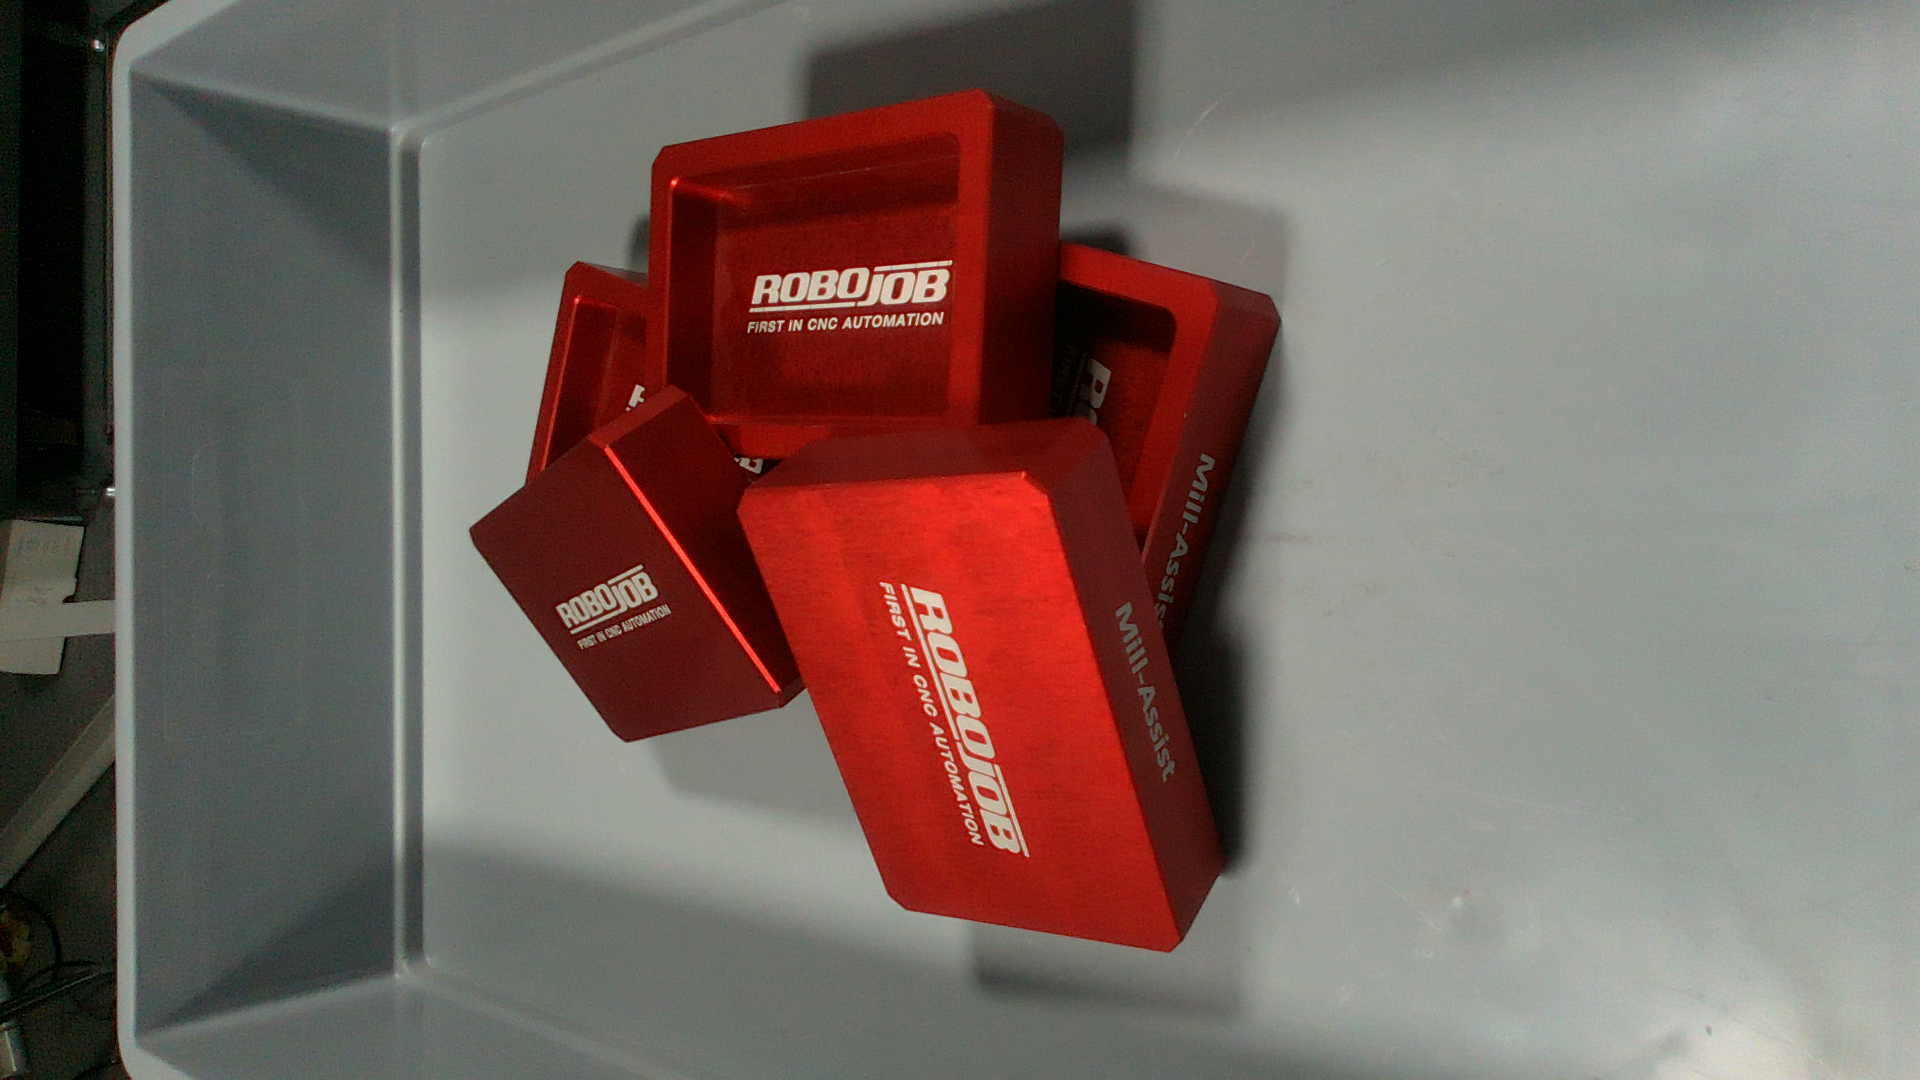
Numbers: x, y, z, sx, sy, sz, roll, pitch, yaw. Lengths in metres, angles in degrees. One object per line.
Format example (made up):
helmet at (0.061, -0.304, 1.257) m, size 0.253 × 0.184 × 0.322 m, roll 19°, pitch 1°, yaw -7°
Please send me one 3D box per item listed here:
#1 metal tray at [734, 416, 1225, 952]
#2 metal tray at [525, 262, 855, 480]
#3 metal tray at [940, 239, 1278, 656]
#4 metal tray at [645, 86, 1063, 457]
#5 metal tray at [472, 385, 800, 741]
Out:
metal tray at (0.006, 0.037, 0.343) m, size 0.090 × 0.030 × 0.130 m, roll -2°, pitch 117°, yaw 35°
metal tray at (-0.094, -0.035, 0.467) m, size 0.130 × 0.030 × 0.090 m, roll 25°, pitch 106°, yaw 37°
metal tray at (0.023, -0.013, 0.371) m, size 0.090 × 0.030 × 0.130 m, roll 24°, pitch 105°, yaw 37°
metal tray at (-0.034, -0.067, 0.379) m, size 0.129 × 0.030 × 0.090 m, roll 5°, pitch 93°, yaw 40°
metal tray at (-0.097, 0.014, 0.427) m, size 0.129 × 0.030 × 0.090 m, roll -20°, pitch 107°, yaw 54°
